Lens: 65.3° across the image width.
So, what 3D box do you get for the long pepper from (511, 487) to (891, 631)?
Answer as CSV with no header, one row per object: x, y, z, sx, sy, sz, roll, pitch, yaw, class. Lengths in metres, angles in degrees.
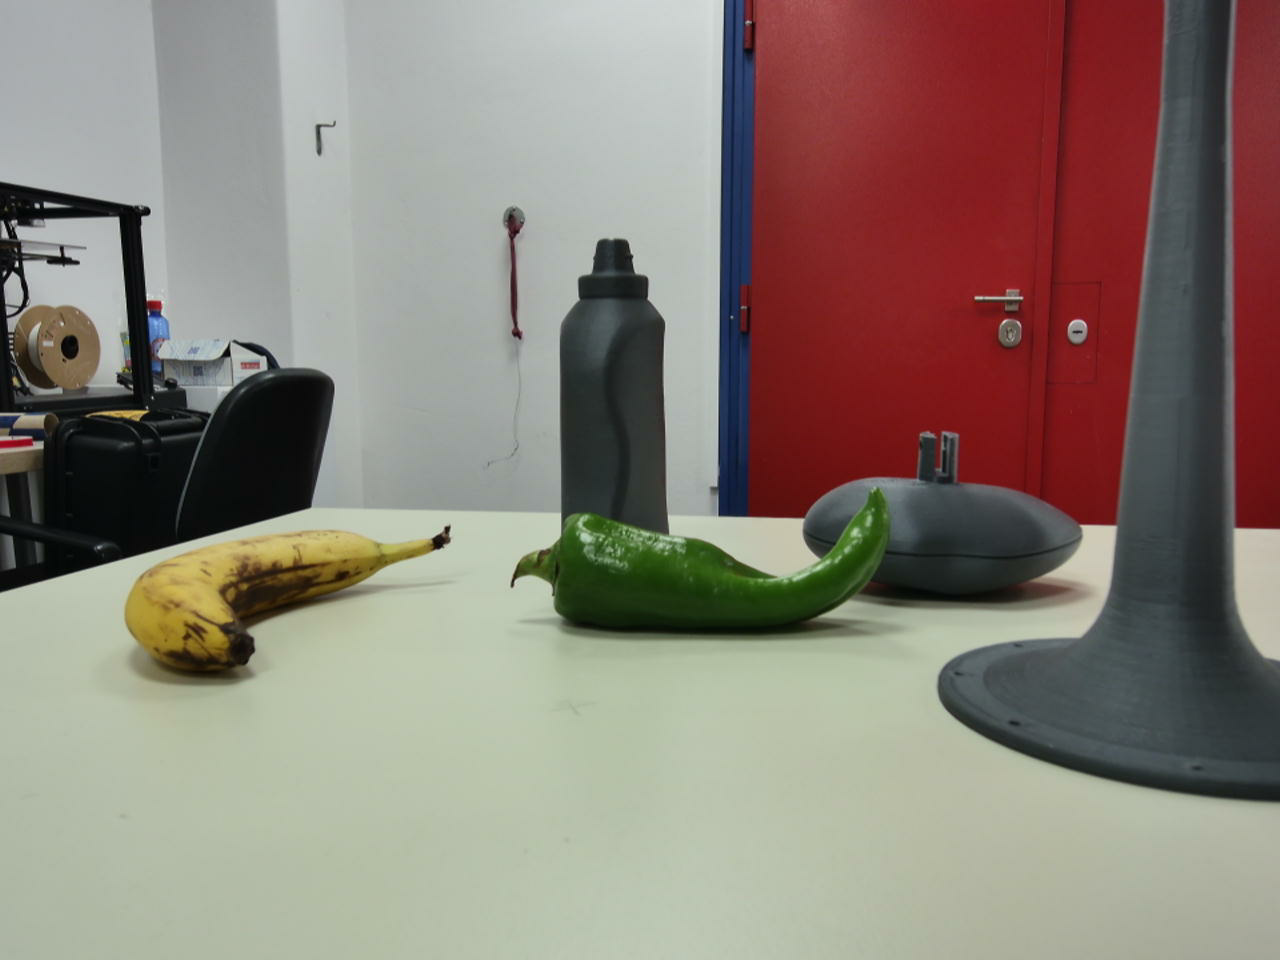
0.025,0.035,0.459,0.175,0.065,0.058,1,4,11,long pepper
